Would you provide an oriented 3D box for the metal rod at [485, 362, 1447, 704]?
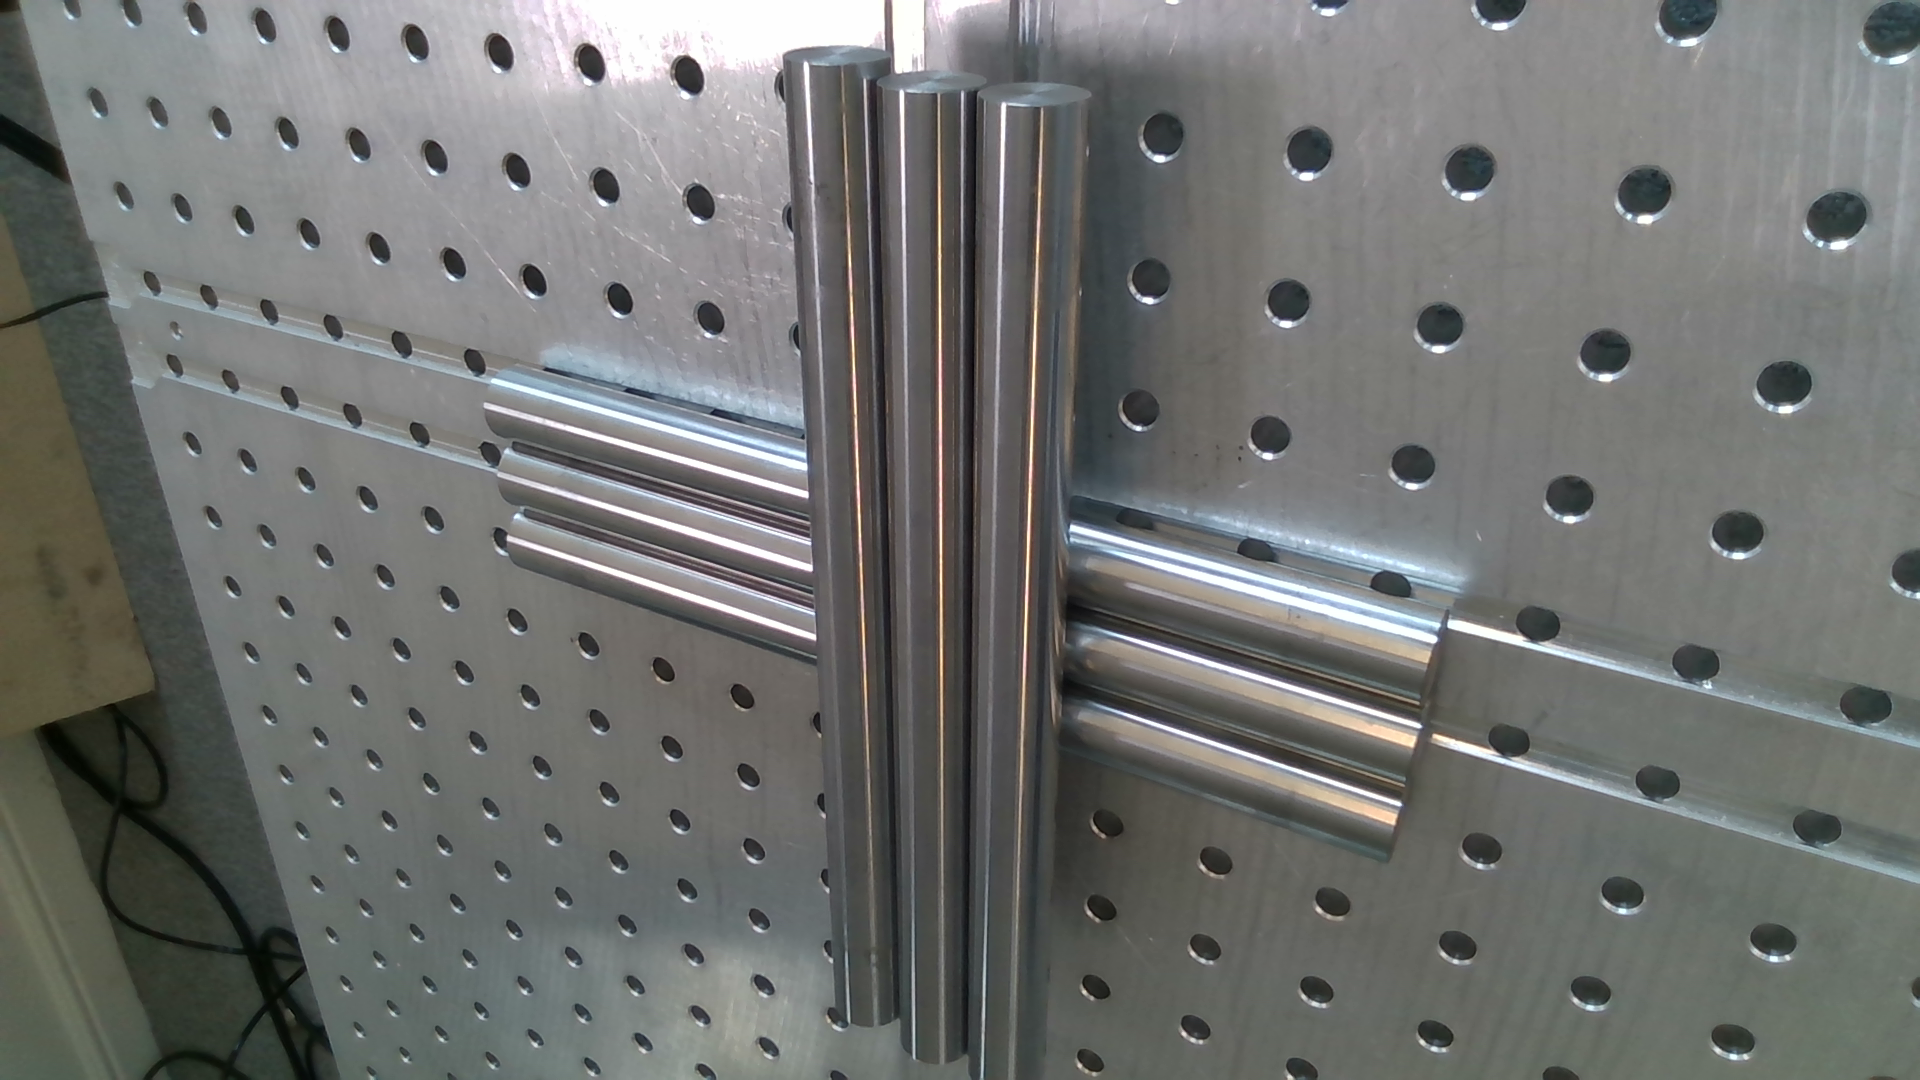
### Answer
[{"bbox_3d":[-0.016,-0.009,0.396,0.300,0.025,0.025,16,122,24],"label":"metal rod"}]

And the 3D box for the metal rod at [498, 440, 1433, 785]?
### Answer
[{"bbox_3d":[-0.016,0.012,0.408,0.300,0.025,0.025,16,122,24],"label":"metal rod"}]

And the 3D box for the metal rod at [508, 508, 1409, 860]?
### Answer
[{"bbox_3d":[-0.017,0.034,0.421,0.300,0.025,0.025,16,122,24],"label":"metal rod"}]

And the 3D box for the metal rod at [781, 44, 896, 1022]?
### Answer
[{"bbox_3d":[-0.029,0.020,0.388,0.025,0.025,0.301,15,122,25],"label":"metal rod"}]

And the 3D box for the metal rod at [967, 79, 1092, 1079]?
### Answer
[{"bbox_3d":[0.015,0.035,0.369,0.025,0.025,0.301,15,122,25],"label":"metal rod"}]

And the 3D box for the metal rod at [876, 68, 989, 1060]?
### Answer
[{"bbox_3d":[-0.007,0.029,0.379,0.025,0.025,0.301,15,122,25],"label":"metal rod"}]
